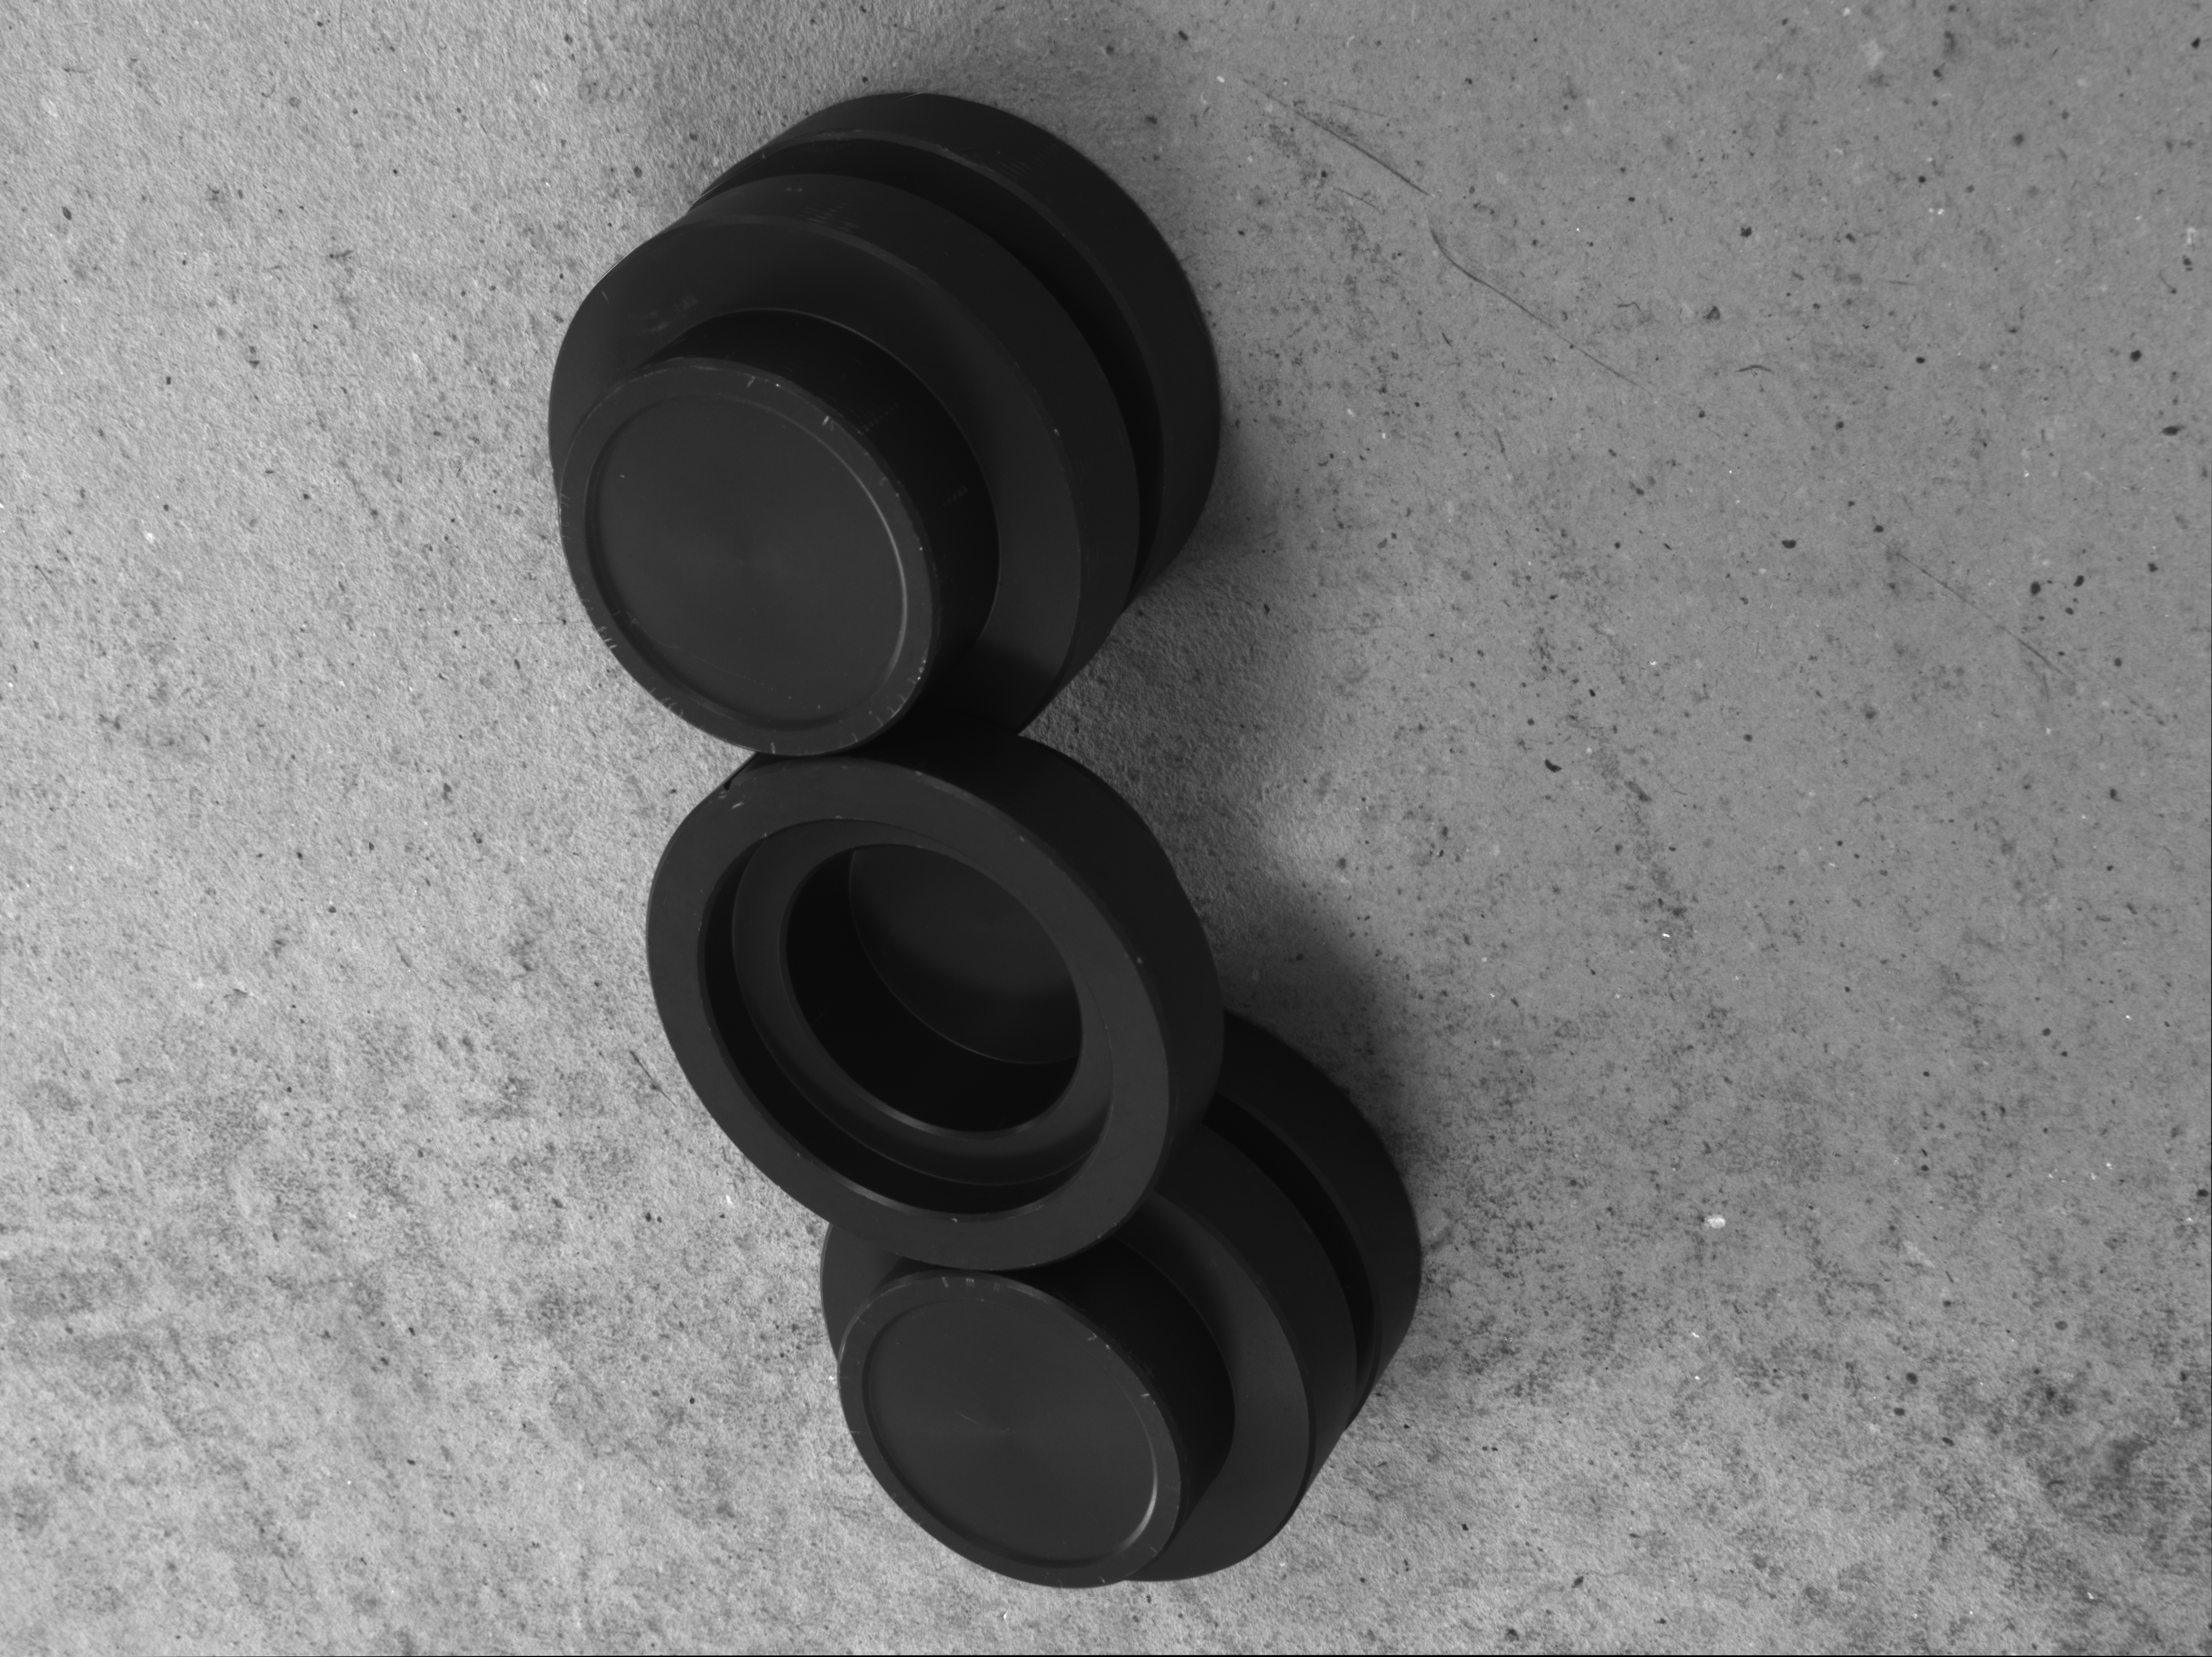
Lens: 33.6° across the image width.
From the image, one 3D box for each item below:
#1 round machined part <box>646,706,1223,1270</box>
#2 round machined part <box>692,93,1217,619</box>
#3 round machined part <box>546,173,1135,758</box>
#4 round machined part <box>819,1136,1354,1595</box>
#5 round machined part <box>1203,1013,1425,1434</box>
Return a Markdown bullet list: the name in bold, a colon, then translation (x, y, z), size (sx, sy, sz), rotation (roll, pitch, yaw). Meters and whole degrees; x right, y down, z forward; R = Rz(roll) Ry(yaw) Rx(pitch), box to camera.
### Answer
- **round machined part**: translation (-0.025, 0.022, 0.617), size (0.098, 0.042, 0.098), rotation (13, 124, 21)
- **round machined part**: translation (-0.034, -0.068, 0.608), size (0.098, 0.042, 0.098), rotation (15, 125, 22)
- **round machined part**: translation (-0.048, -0.051, 0.584), size (0.098, 0.042, 0.098), rotation (14, 125, 21)
- **round machined part**: translation (-0.009, 0.096, 0.652), size (0.098, 0.042, 0.098), rotation (14, 125, 21)
- **round machined part**: translation (0.006, 0.082, 0.680), size (0.098, 0.042, 0.098), rotation (14, 123, 22)
